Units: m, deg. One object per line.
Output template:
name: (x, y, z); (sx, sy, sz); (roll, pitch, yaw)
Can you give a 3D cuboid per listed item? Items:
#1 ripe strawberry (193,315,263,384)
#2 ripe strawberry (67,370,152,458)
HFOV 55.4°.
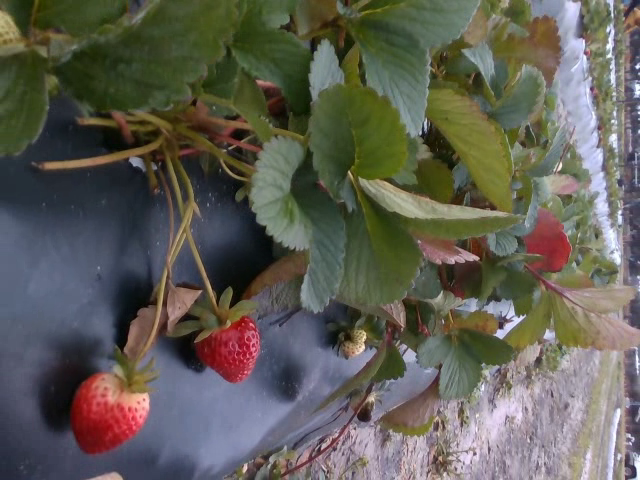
ripe strawberry: (-0.049, 0.062, 0.334); (0.044, 0.059, 0.042); (-17, 41, -20)
ripe strawberry: (-0.092, 0.080, 0.269); (0.027, 0.041, 0.036); (36, 7, 34)
